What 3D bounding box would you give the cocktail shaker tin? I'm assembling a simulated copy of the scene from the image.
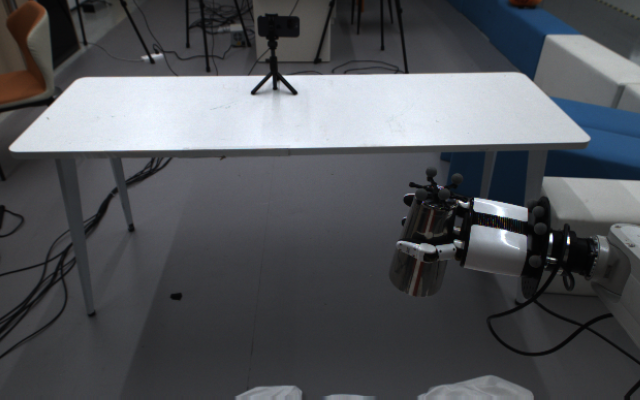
[{"bbox_3d":[0.172,0.061,0.781,0.093,0.170,0.093,4,36,-3],"label":"cocktail shaker tin"}]
